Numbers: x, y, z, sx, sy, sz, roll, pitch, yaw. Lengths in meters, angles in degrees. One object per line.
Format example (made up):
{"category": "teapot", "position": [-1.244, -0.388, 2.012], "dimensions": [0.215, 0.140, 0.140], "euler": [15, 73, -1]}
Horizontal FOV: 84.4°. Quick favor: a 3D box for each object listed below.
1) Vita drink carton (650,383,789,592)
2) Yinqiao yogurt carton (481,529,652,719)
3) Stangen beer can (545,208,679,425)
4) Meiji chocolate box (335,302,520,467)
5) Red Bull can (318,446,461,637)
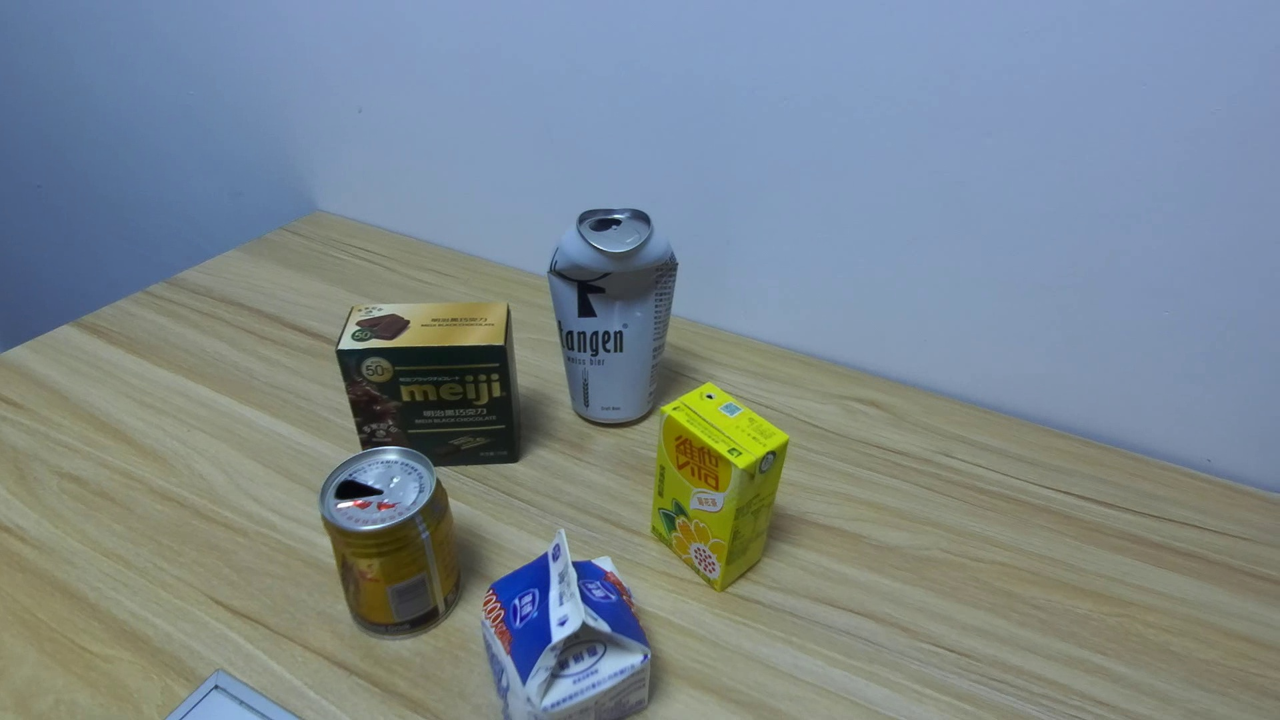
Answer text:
{"category": "Vita drink carton", "position": [0.046, 0.077, 0.427], "dimensions": [0.044, 0.109, 0.066], "euler": [-26, 45, -33]}
{"category": "Yinqiao yogurt carton", "position": [-0.038, 0.135, 0.357], "dimensions": [0.077, 0.093, 0.083], "euler": [-13, 39, -19]}
{"category": "Stangen beer can", "position": [-0.020, -0.028, 0.521], "dimensions": [0.077, 0.162, 0.065], "euler": [-29, 46, -34]}
{"category": "Meiji chocolate box", "position": [-0.143, 0.019, 0.498], "dimensions": [0.110, 0.109, 0.056], "euler": [-2, 37, -6]}
{"category": "Red Bull can", "position": [-0.138, 0.102, 0.396], "dimensions": [0.069, 0.092, 0.069], "euler": [2, 35, -1]}
